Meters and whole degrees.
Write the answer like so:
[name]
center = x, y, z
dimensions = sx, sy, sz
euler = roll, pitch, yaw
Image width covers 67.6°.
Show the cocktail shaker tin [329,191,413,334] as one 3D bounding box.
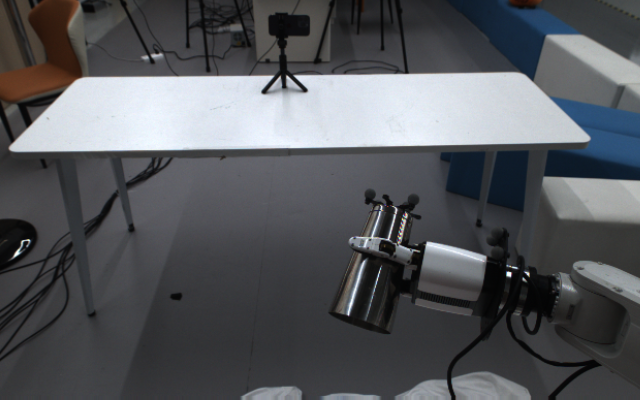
[cocktail shaker tin]
center = 0.079, 0.095, 0.699
dimensions = 0.093, 0.093, 0.170
euler = 14, 69, 17
